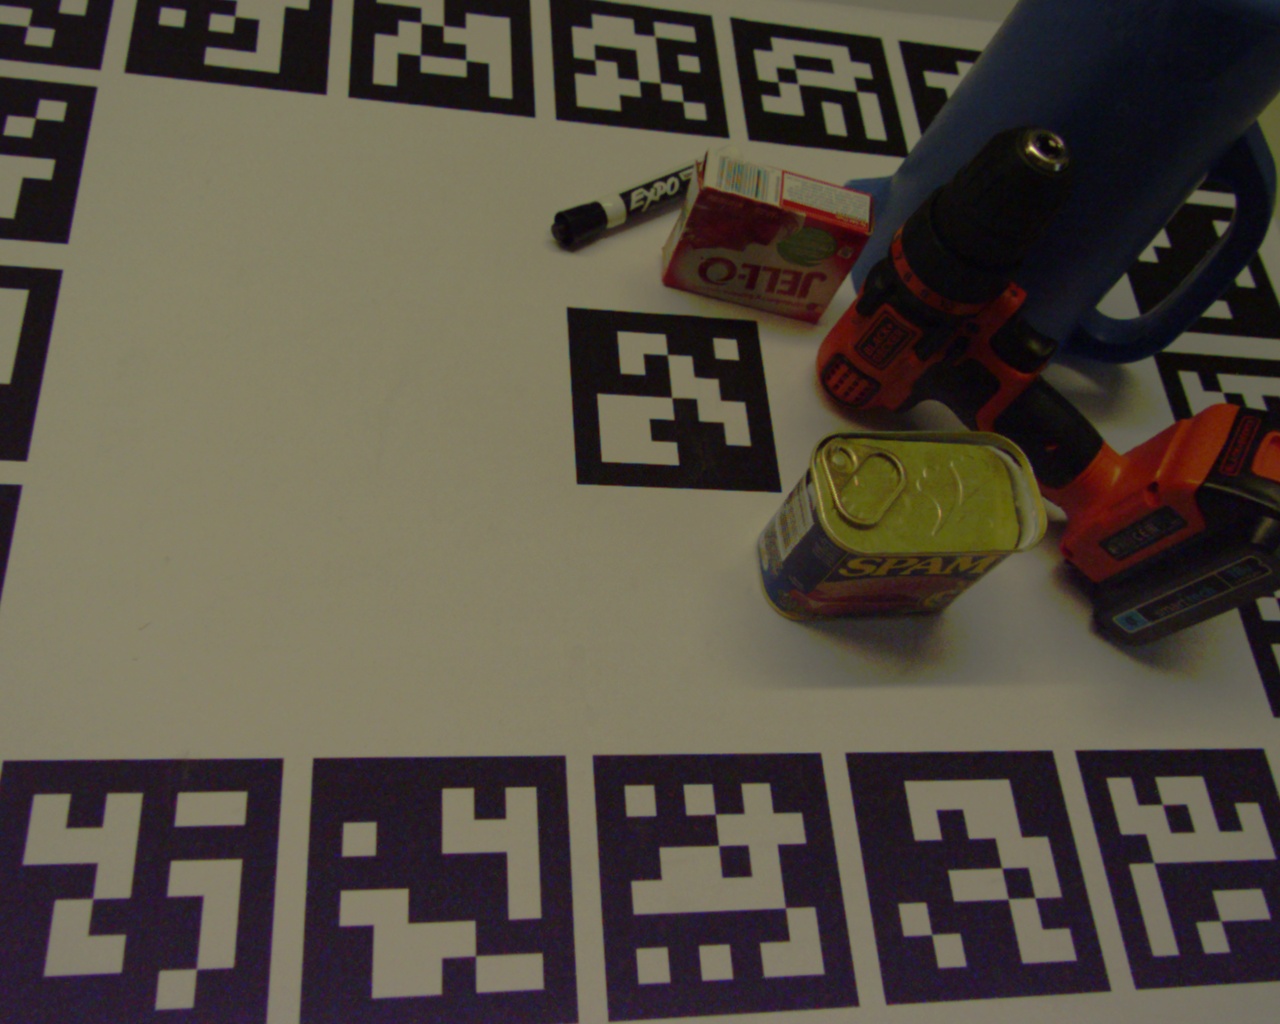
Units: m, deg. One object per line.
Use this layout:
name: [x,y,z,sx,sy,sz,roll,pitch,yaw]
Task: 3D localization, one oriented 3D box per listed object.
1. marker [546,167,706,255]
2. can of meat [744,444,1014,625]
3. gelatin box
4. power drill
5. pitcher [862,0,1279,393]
marker: [0.001,-0.172,0.642,0.120,0.020,0.020,-26,74,-22]
can of meat: [0.108,0.014,0.541,0.101,0.084,0.058,0,63,-14]
gelatin box: [0.064,-0.131,0.611,0.089,0.073,0.030,12,67,-10]
power drill: [0.178,-0.063,0.542,0.187,0.185,0.057,35,64,-3]
pitcher: [0.221,-0.166,0.576,0.189,0.242,0.133,28,65,7]
